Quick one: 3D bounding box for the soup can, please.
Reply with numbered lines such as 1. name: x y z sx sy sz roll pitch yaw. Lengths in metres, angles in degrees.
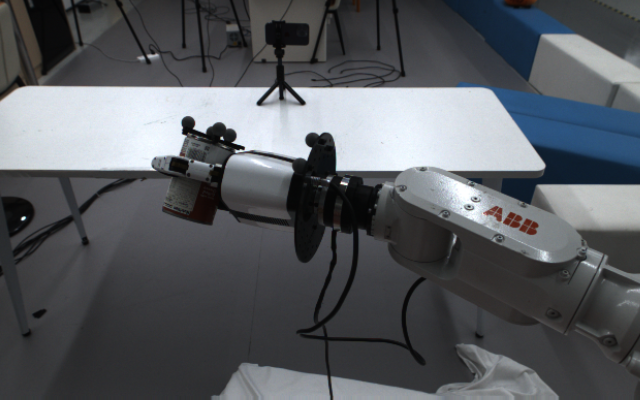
1. soup can: -0.154 -0.024 0.620 0.067 0.101 0.067 17 -1 0
